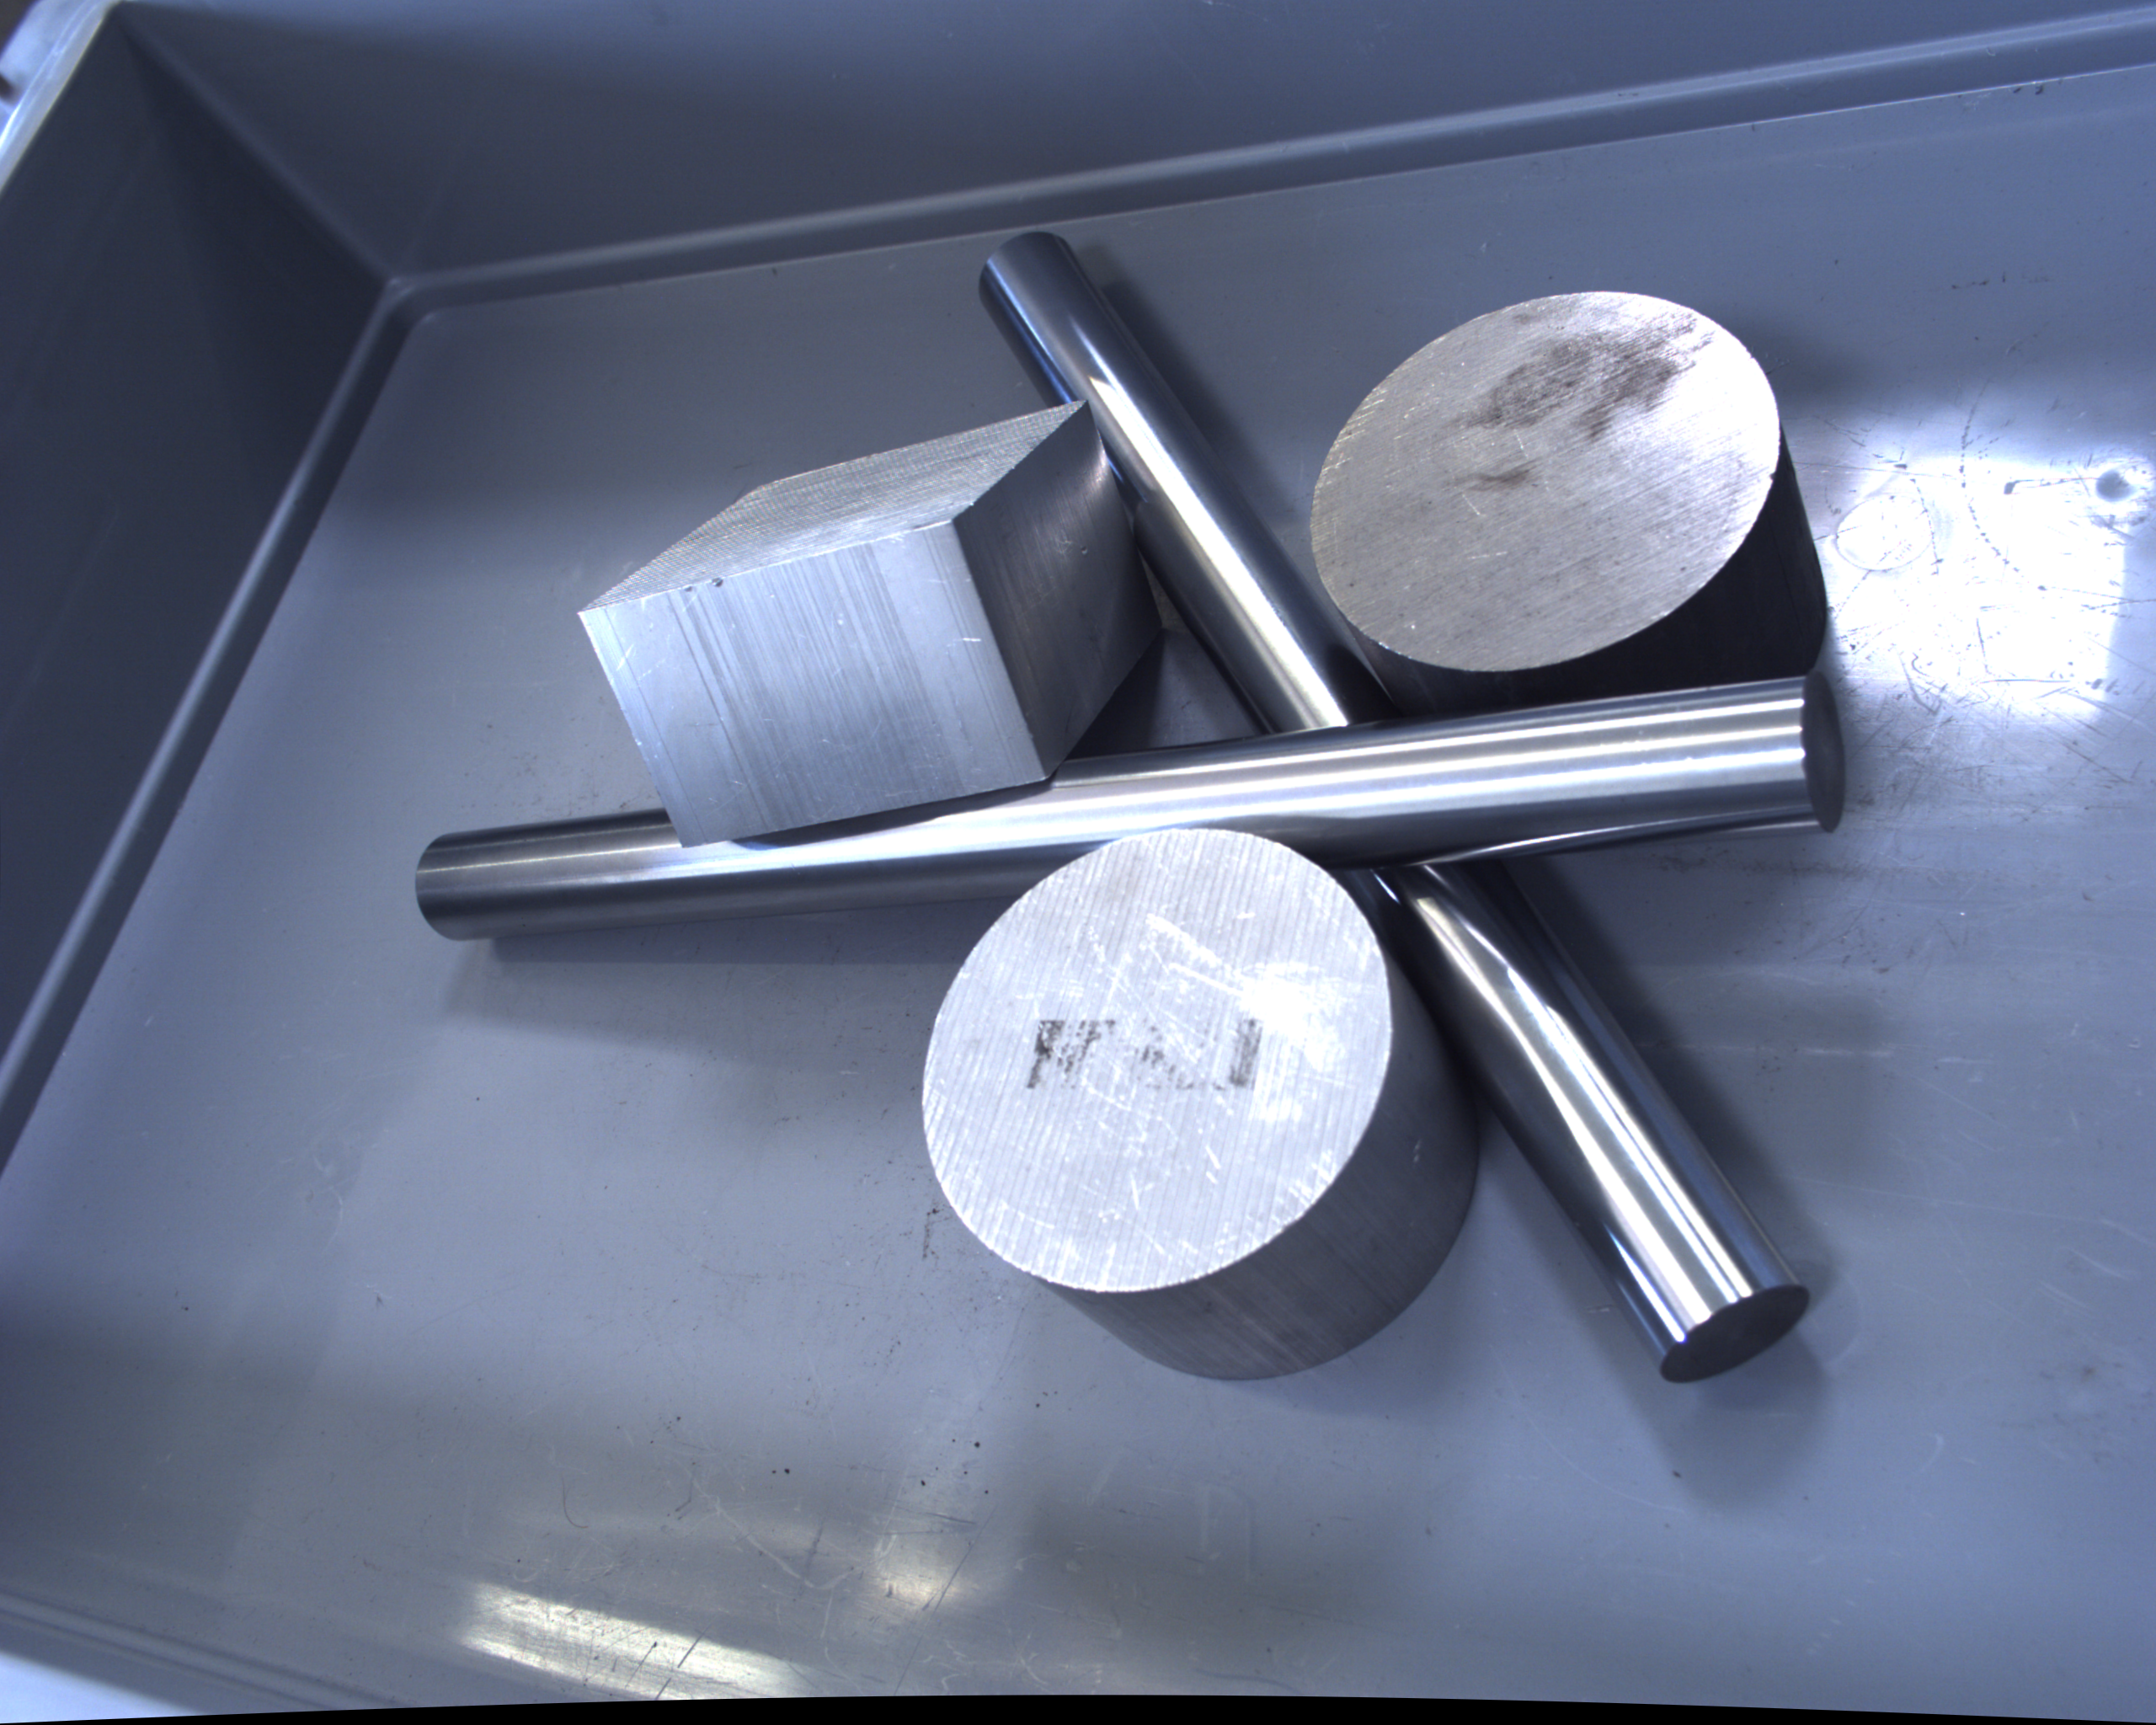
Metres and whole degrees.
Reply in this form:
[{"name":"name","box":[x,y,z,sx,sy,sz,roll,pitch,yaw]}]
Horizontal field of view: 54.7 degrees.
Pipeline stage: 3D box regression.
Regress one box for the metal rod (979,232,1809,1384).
[{"name":"metal rod","box":[0.043,-0.034,0.402,0.025,0.025,0.300,-33,51,7]}]

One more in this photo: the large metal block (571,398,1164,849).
[{"name":"large metal block","box":[-0.038,-0.048,0.414,0.080,0.050,0.080,-10,23,23]}]

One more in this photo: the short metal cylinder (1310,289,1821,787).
[{"name":"short metal cylinder","box":[0.088,-0.055,0.376,0.080,0.050,0.080,-13,56,21]}]

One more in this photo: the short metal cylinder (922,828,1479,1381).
[{"name":"short metal cylinder","box":[0.021,0.041,0.351,0.080,0.050,0.080,-13,56,21]}]

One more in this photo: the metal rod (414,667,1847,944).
[{"name":"metal rod","box":[-0.014,-0.006,0.393,0.300,0.025,0.025,-5,59,32]}]
